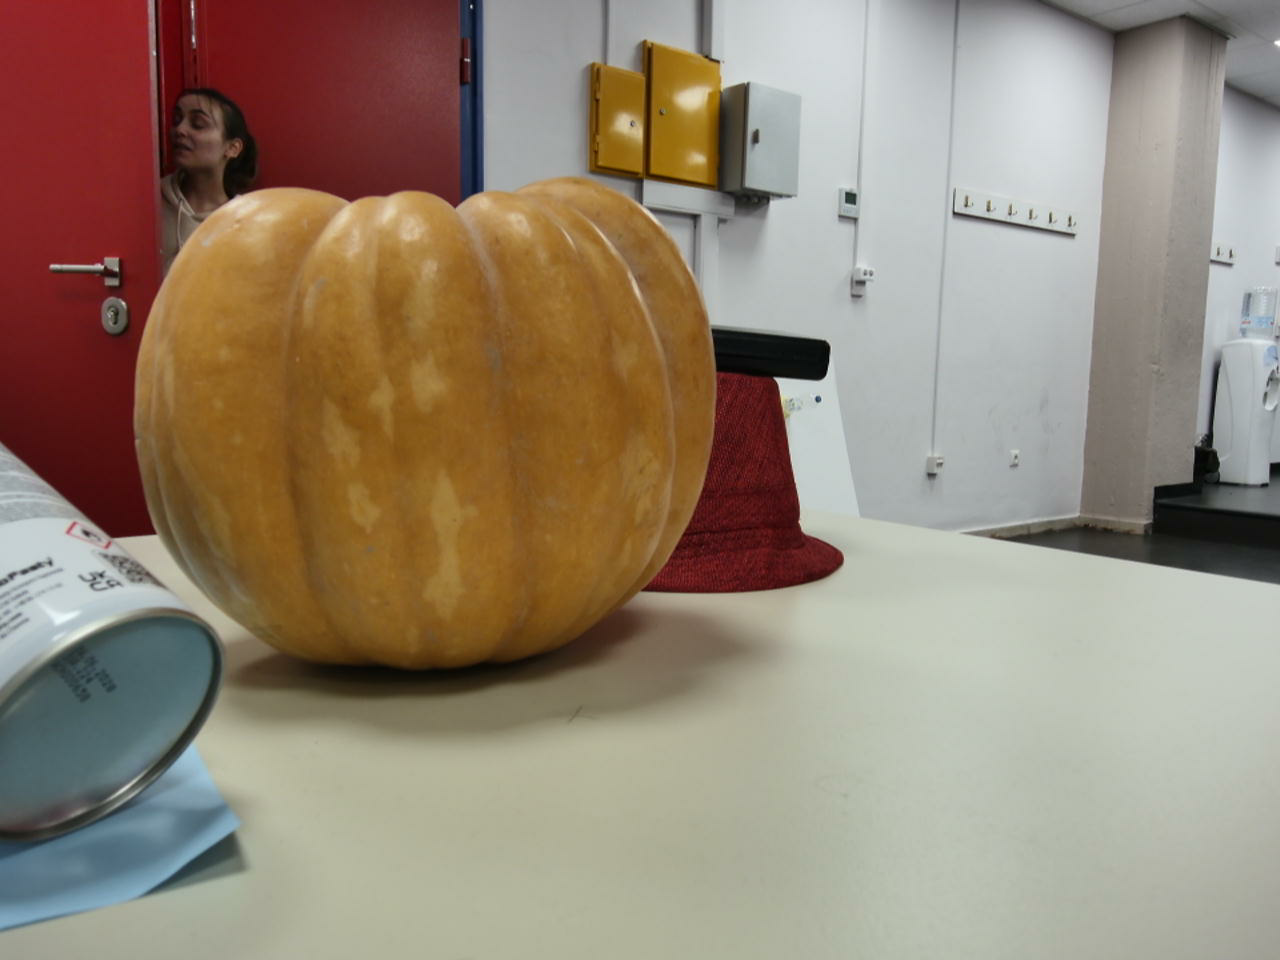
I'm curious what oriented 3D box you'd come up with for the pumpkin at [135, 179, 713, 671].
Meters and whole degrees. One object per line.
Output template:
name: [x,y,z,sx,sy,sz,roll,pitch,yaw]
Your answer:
pumpkin: [-0.079,-0.025,0.411,0.230,0.194,0.230,0,4,0]
